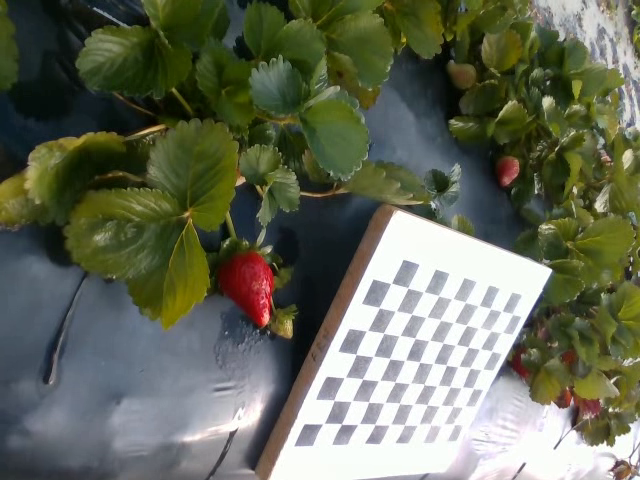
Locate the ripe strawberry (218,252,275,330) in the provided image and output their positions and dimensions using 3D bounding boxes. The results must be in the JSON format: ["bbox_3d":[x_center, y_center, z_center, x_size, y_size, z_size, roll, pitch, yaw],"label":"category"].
[{"bbox_3d":[-0.050,0.041,0.444,0.043,0.057,0.052,-11,-32,-28],"label":"ripe strawberry"}]
